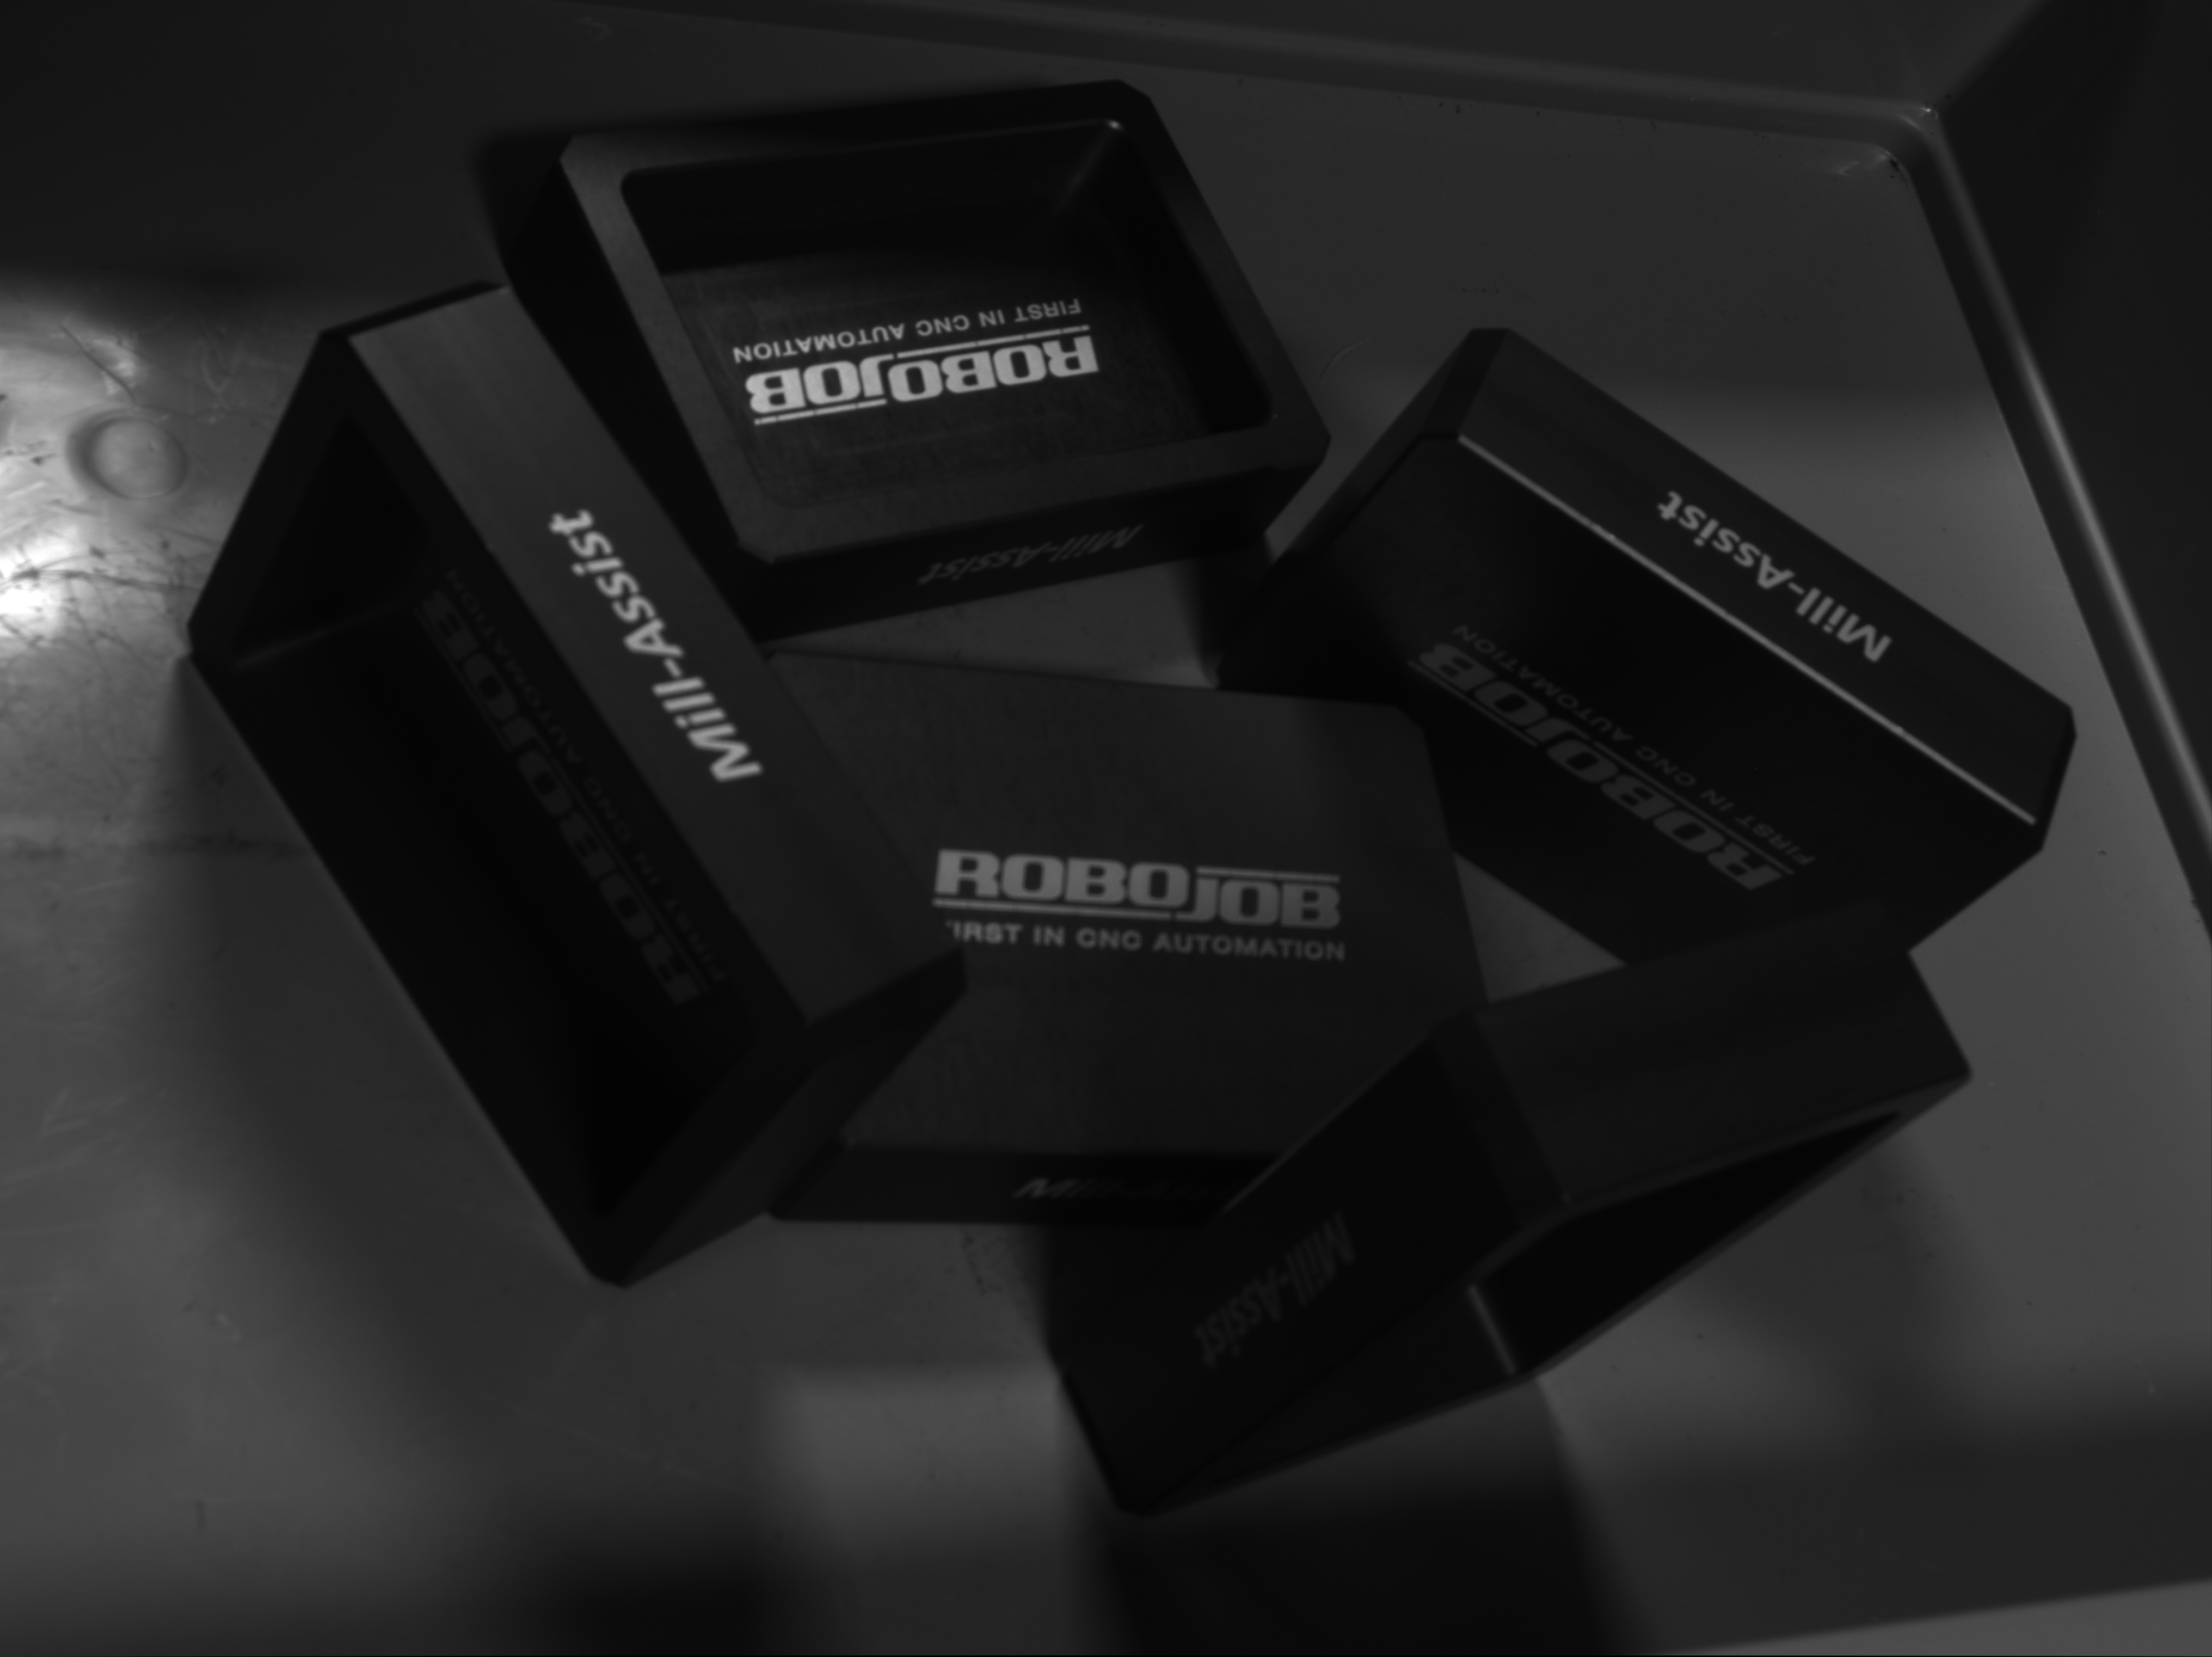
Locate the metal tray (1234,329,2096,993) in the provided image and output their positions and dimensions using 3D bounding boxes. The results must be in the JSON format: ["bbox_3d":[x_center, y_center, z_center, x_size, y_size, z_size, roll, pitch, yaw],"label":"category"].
[{"bbox_3d":[0.099,-0.022,0.662,0.130,0.090,0.030,33,52,-6],"label":"metal tray"}]

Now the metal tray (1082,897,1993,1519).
[{"bbox_3d":[0.064,0.061,0.566,0.090,0.130,0.030,-13,68,-34],"label":"metal tray"}]

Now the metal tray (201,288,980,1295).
[{"bbox_3d":[-0.082,-0.004,0.555,0.030,0.090,0.130,-27,77,-38],"label":"metal tray"}]

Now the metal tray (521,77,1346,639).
[{"bbox_3d":[-0.030,-0.088,0.673,0.130,0.030,0.090,-14,69,-34],"label":"metal tray"}]

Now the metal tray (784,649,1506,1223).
[{"bbox_3d":[0.003,0.020,0.623,0.130,0.030,0.090,4,60,-26],"label":"metal tray"}]
